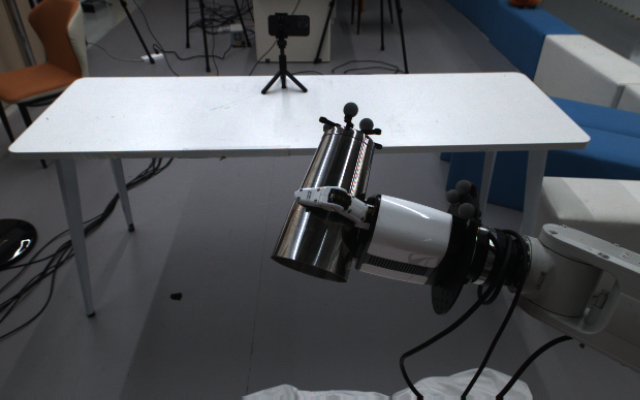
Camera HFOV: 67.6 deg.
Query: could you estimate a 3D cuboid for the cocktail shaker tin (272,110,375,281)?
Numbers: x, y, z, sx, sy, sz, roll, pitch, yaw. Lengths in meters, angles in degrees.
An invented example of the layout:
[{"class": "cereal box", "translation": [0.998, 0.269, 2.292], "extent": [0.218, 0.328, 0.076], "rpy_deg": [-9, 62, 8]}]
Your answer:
[{"class": "cocktail shaker tin", "translation": [0.011, 0.003, 0.577], "extent": [0.093, 0.093, 0.170], "rpy_deg": [14, 74, 17]}]
